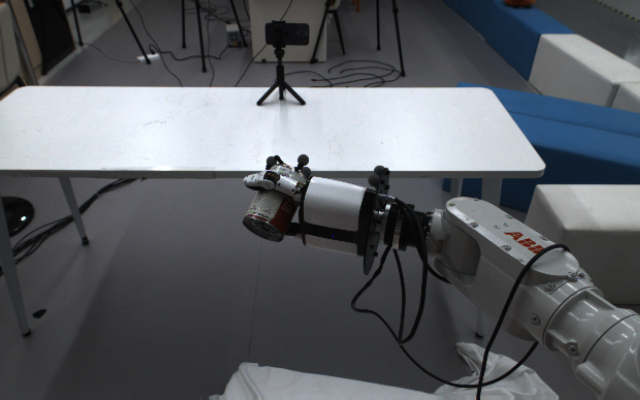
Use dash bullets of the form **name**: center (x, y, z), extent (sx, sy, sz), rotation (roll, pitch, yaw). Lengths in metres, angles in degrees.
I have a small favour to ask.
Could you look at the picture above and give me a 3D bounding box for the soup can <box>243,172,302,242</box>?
- **soup can**: center (-0.066, 0.004, 0.741), extent (0.067, 0.067, 0.101), rotation (15, 63, 18)
